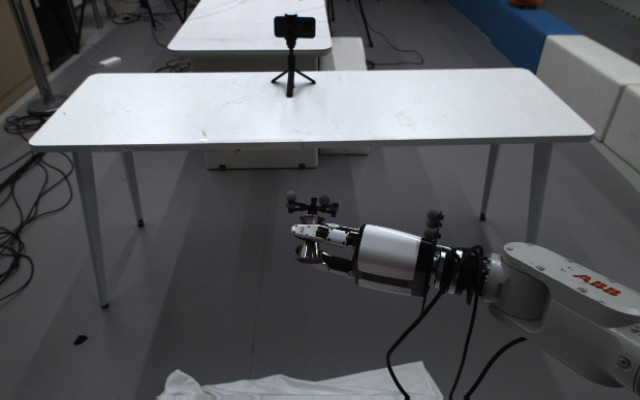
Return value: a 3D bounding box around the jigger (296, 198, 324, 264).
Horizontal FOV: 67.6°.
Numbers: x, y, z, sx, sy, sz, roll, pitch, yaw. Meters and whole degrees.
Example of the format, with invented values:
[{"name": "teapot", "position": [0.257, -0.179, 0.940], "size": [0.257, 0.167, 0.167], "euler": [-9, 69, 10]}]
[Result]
[{"name": "jigger", "position": [-0.015, 0.059, 0.743], "size": [0.043, 0.043, 0.071], "euler": [3, 72, 1]}]
